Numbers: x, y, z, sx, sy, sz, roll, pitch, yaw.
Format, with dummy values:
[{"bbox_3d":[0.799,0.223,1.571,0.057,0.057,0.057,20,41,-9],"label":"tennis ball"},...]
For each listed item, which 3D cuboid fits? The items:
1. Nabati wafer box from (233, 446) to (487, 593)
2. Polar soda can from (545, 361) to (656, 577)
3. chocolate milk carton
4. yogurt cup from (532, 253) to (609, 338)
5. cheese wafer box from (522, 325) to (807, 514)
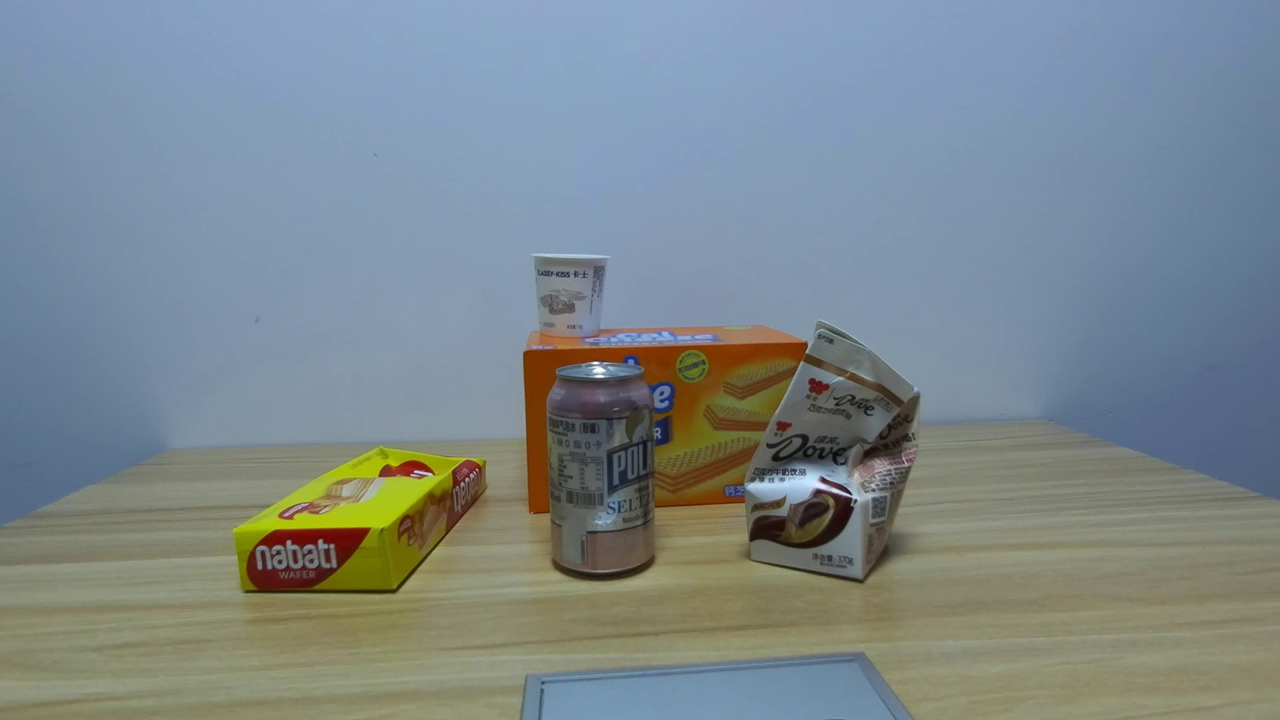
[{"bbox_3d":[-0.182,0.103,0.503,0.096,0.042,0.203,-3,7,4],"label":"Nabati wafer box"},{"bbox_3d":[-0.024,0.067,0.445,0.067,0.125,0.067,0,6,0],"label":"Polar soda can"},{"bbox_3d":[0.123,0.057,0.440,0.089,0.155,0.077,18,20,21],"label":"chocolate milk carton"},{"bbox_3d":[-0.061,-0.057,0.620,0.072,0.068,0.072,1,9,0],"label":"yogurt cup"},{"bbox_3d":[0.017,0.042,0.608,0.222,0.129,0.148,-1,9,-6],"label":"cheese wafer box"}]
